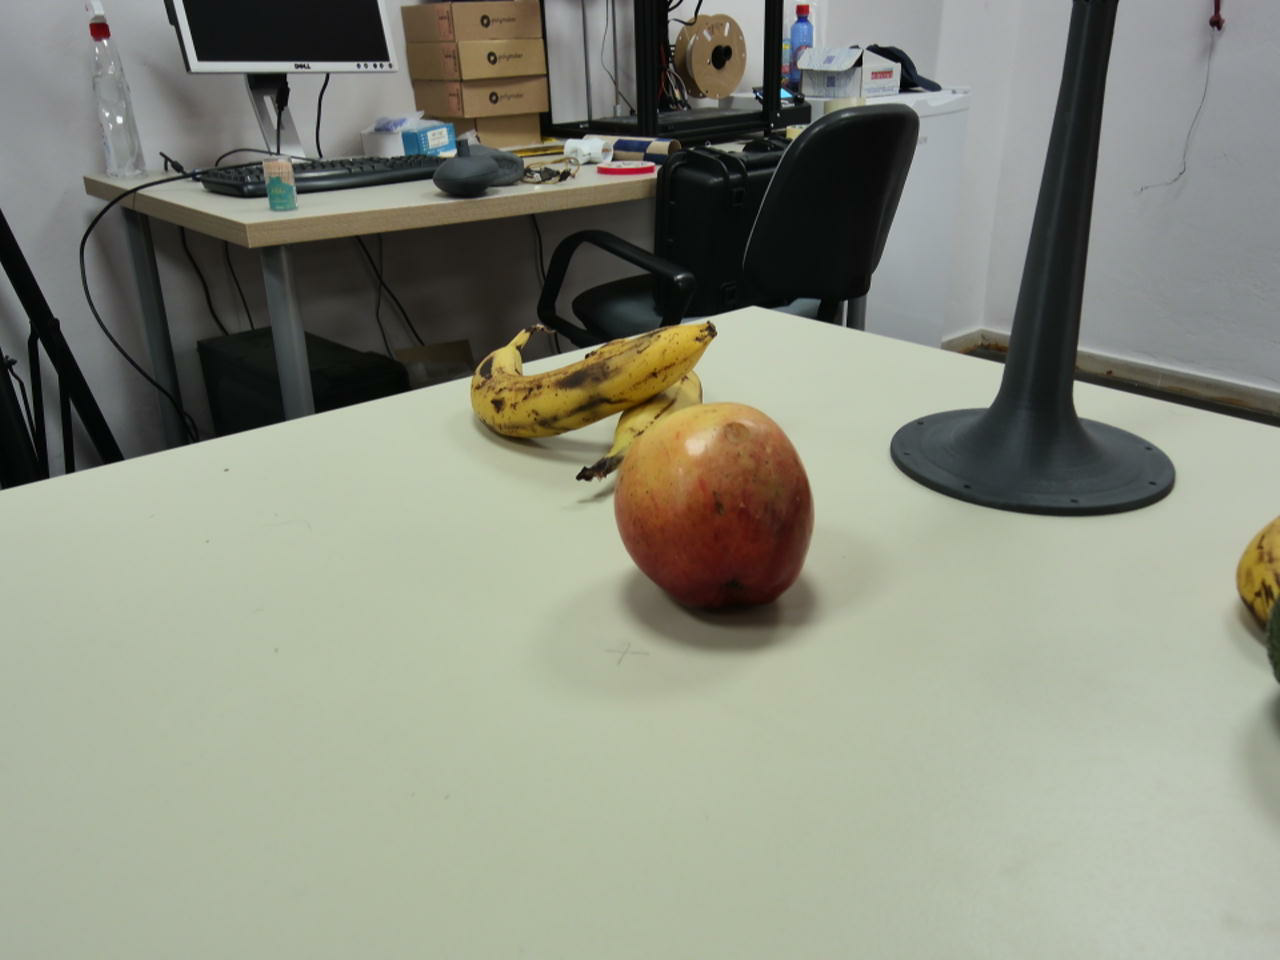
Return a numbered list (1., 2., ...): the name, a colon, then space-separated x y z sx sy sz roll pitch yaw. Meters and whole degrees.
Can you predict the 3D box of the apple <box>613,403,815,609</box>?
1. apple: 0.032 0.010 0.436 0.086 0.084 0.093 5 22 14
